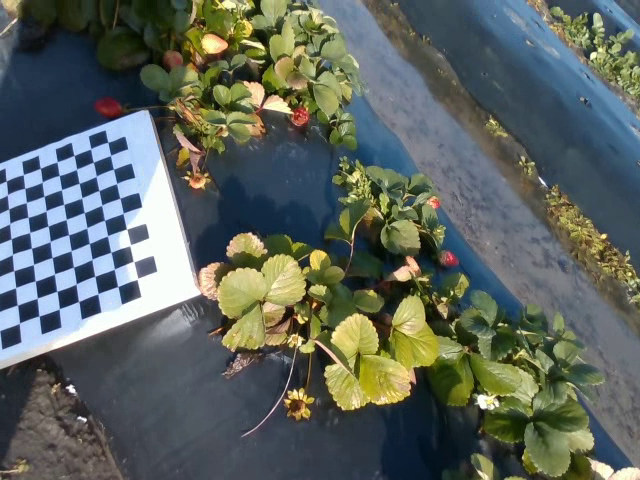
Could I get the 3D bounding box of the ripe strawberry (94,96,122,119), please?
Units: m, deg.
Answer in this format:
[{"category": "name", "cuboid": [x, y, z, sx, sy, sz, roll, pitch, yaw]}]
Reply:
[{"category": "ripe strawberry", "cuboid": [-0.260, -0.156, 0.836, 0.037, 0.035, 0.033, 13, -48, -44]}]
